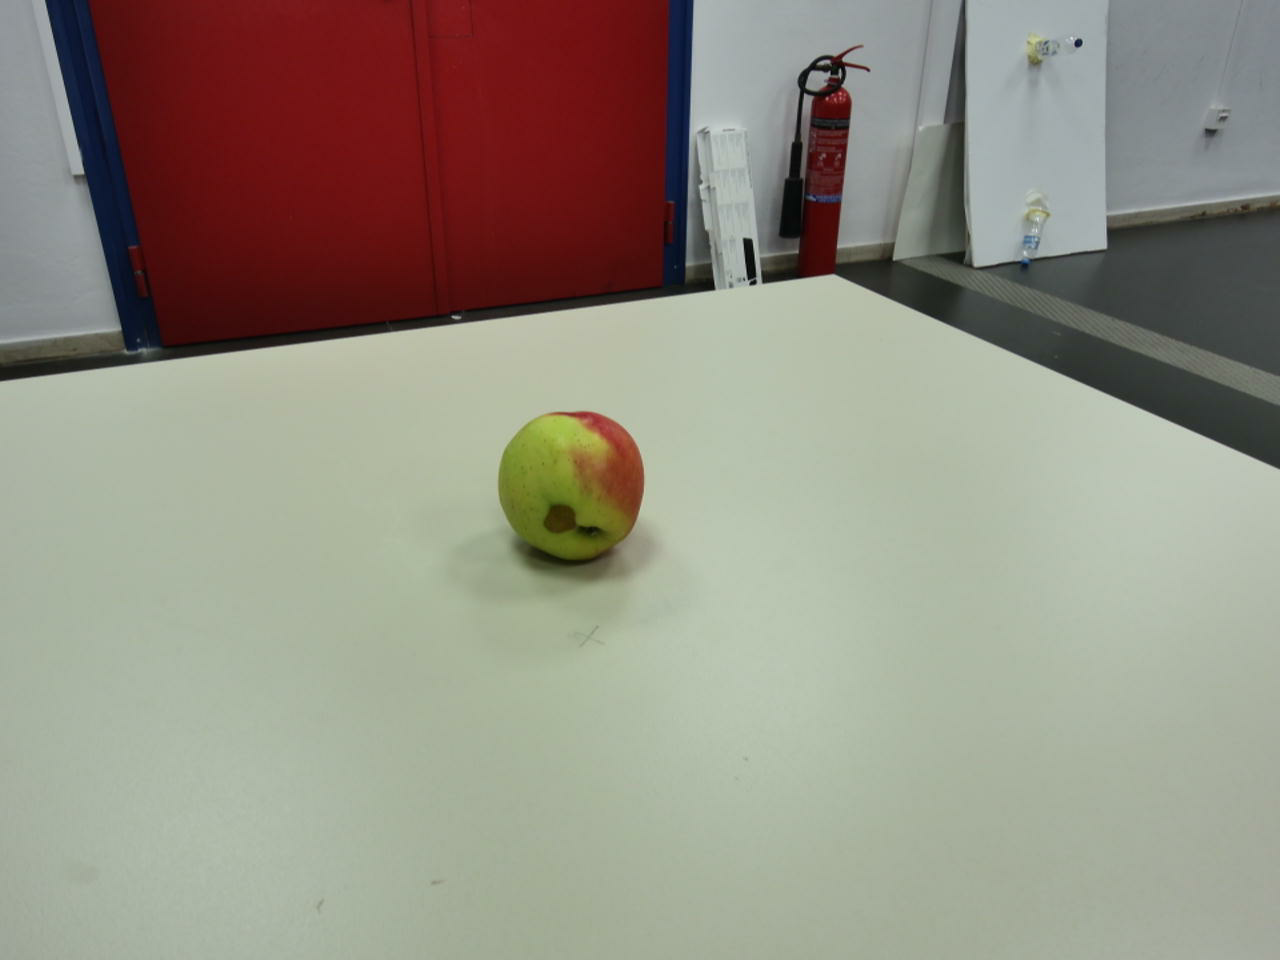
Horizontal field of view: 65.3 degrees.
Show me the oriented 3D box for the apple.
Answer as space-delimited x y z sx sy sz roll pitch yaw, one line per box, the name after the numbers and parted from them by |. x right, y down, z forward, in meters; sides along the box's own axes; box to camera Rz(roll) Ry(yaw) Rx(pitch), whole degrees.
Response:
-0.033 0.002 0.509 0.075 0.074 0.075 -22 34 -40 | apple
